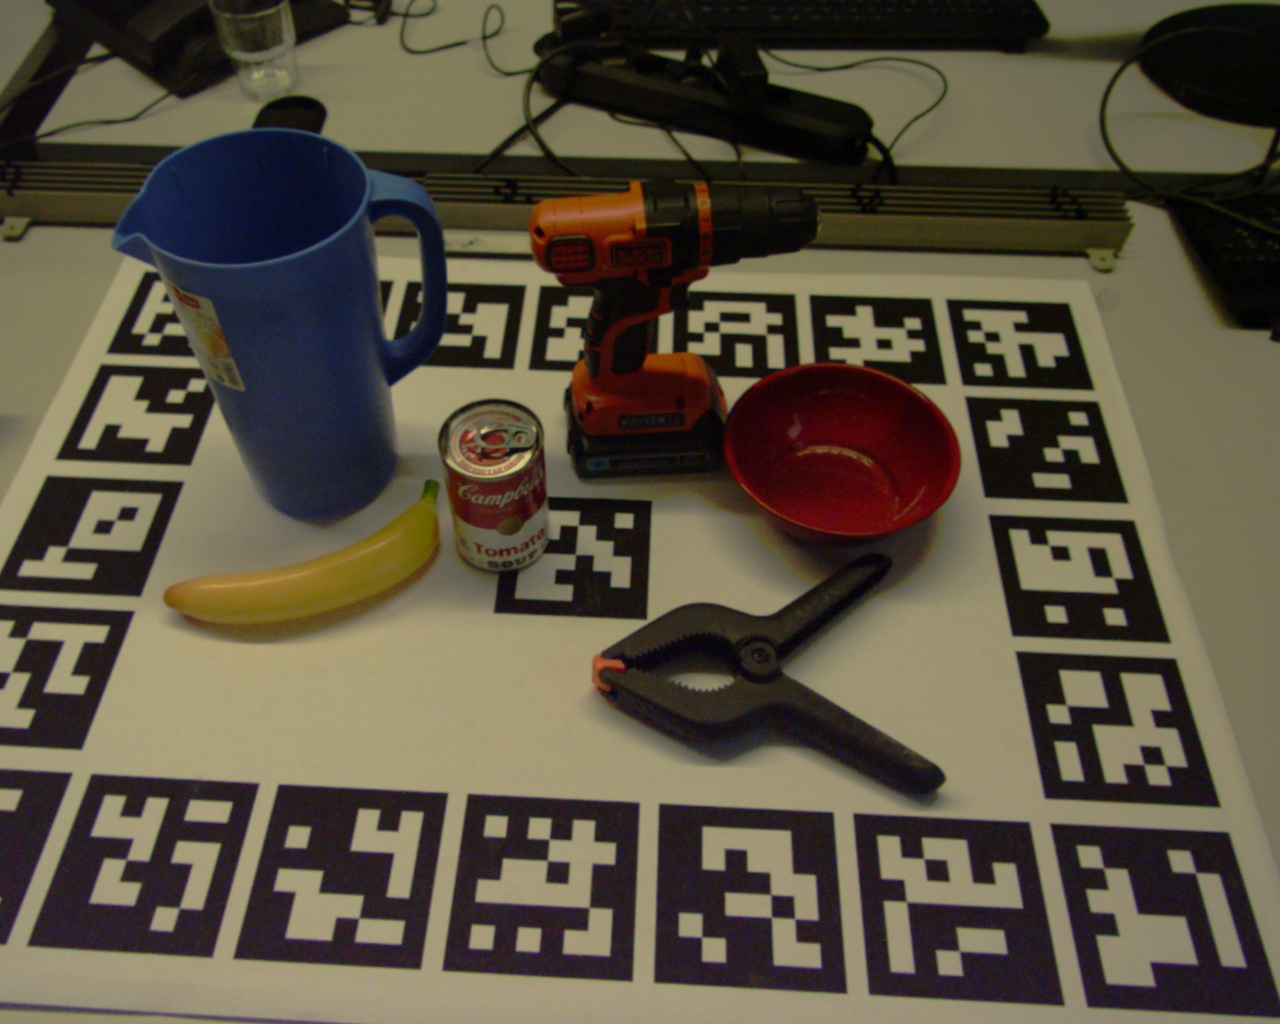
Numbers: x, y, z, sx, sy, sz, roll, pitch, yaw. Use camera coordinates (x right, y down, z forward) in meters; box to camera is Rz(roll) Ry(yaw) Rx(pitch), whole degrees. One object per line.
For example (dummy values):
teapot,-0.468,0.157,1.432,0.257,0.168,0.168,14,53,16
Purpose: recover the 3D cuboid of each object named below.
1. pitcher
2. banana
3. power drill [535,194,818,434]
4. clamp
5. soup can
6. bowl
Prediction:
pitcher,-0.217,-0.119,0.773,0.188,0.241,0.134,-18,51,-14
banana,-0.223,0.033,0.785,0.196,0.038,0.075,-19,46,-16
power drill,0.022,-0.136,0.796,0.184,0.186,0.057,-2,52,-3
clamp,0.067,0.089,0.729,0.203,0.036,0.166,-1,56,0
soup can,-0.098,-0.024,0.787,0.068,0.101,0.068,0,44,-1
bowl,0.129,-0.036,0.823,0.162,0.055,0.162,-1,53,0
